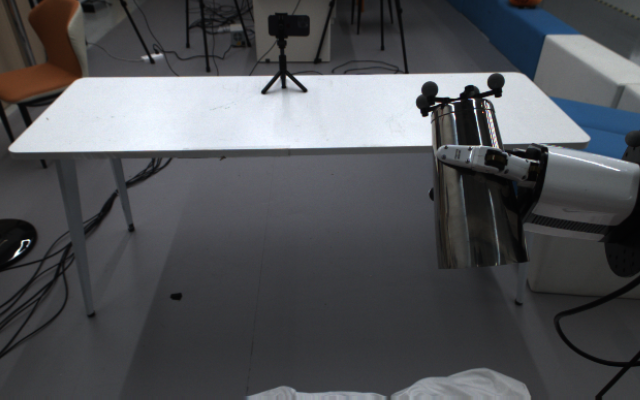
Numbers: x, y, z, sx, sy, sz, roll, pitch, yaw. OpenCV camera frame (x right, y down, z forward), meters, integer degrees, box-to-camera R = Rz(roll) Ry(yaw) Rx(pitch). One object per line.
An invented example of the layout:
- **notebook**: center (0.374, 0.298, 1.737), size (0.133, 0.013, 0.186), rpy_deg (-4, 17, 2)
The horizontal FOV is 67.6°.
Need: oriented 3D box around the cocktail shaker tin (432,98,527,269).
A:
- **cocktail shaker tin**: center (0.164, -0.016, 0.518), size (0.093, 0.170, 0.093), rpy_deg (-6, -7, -1)
